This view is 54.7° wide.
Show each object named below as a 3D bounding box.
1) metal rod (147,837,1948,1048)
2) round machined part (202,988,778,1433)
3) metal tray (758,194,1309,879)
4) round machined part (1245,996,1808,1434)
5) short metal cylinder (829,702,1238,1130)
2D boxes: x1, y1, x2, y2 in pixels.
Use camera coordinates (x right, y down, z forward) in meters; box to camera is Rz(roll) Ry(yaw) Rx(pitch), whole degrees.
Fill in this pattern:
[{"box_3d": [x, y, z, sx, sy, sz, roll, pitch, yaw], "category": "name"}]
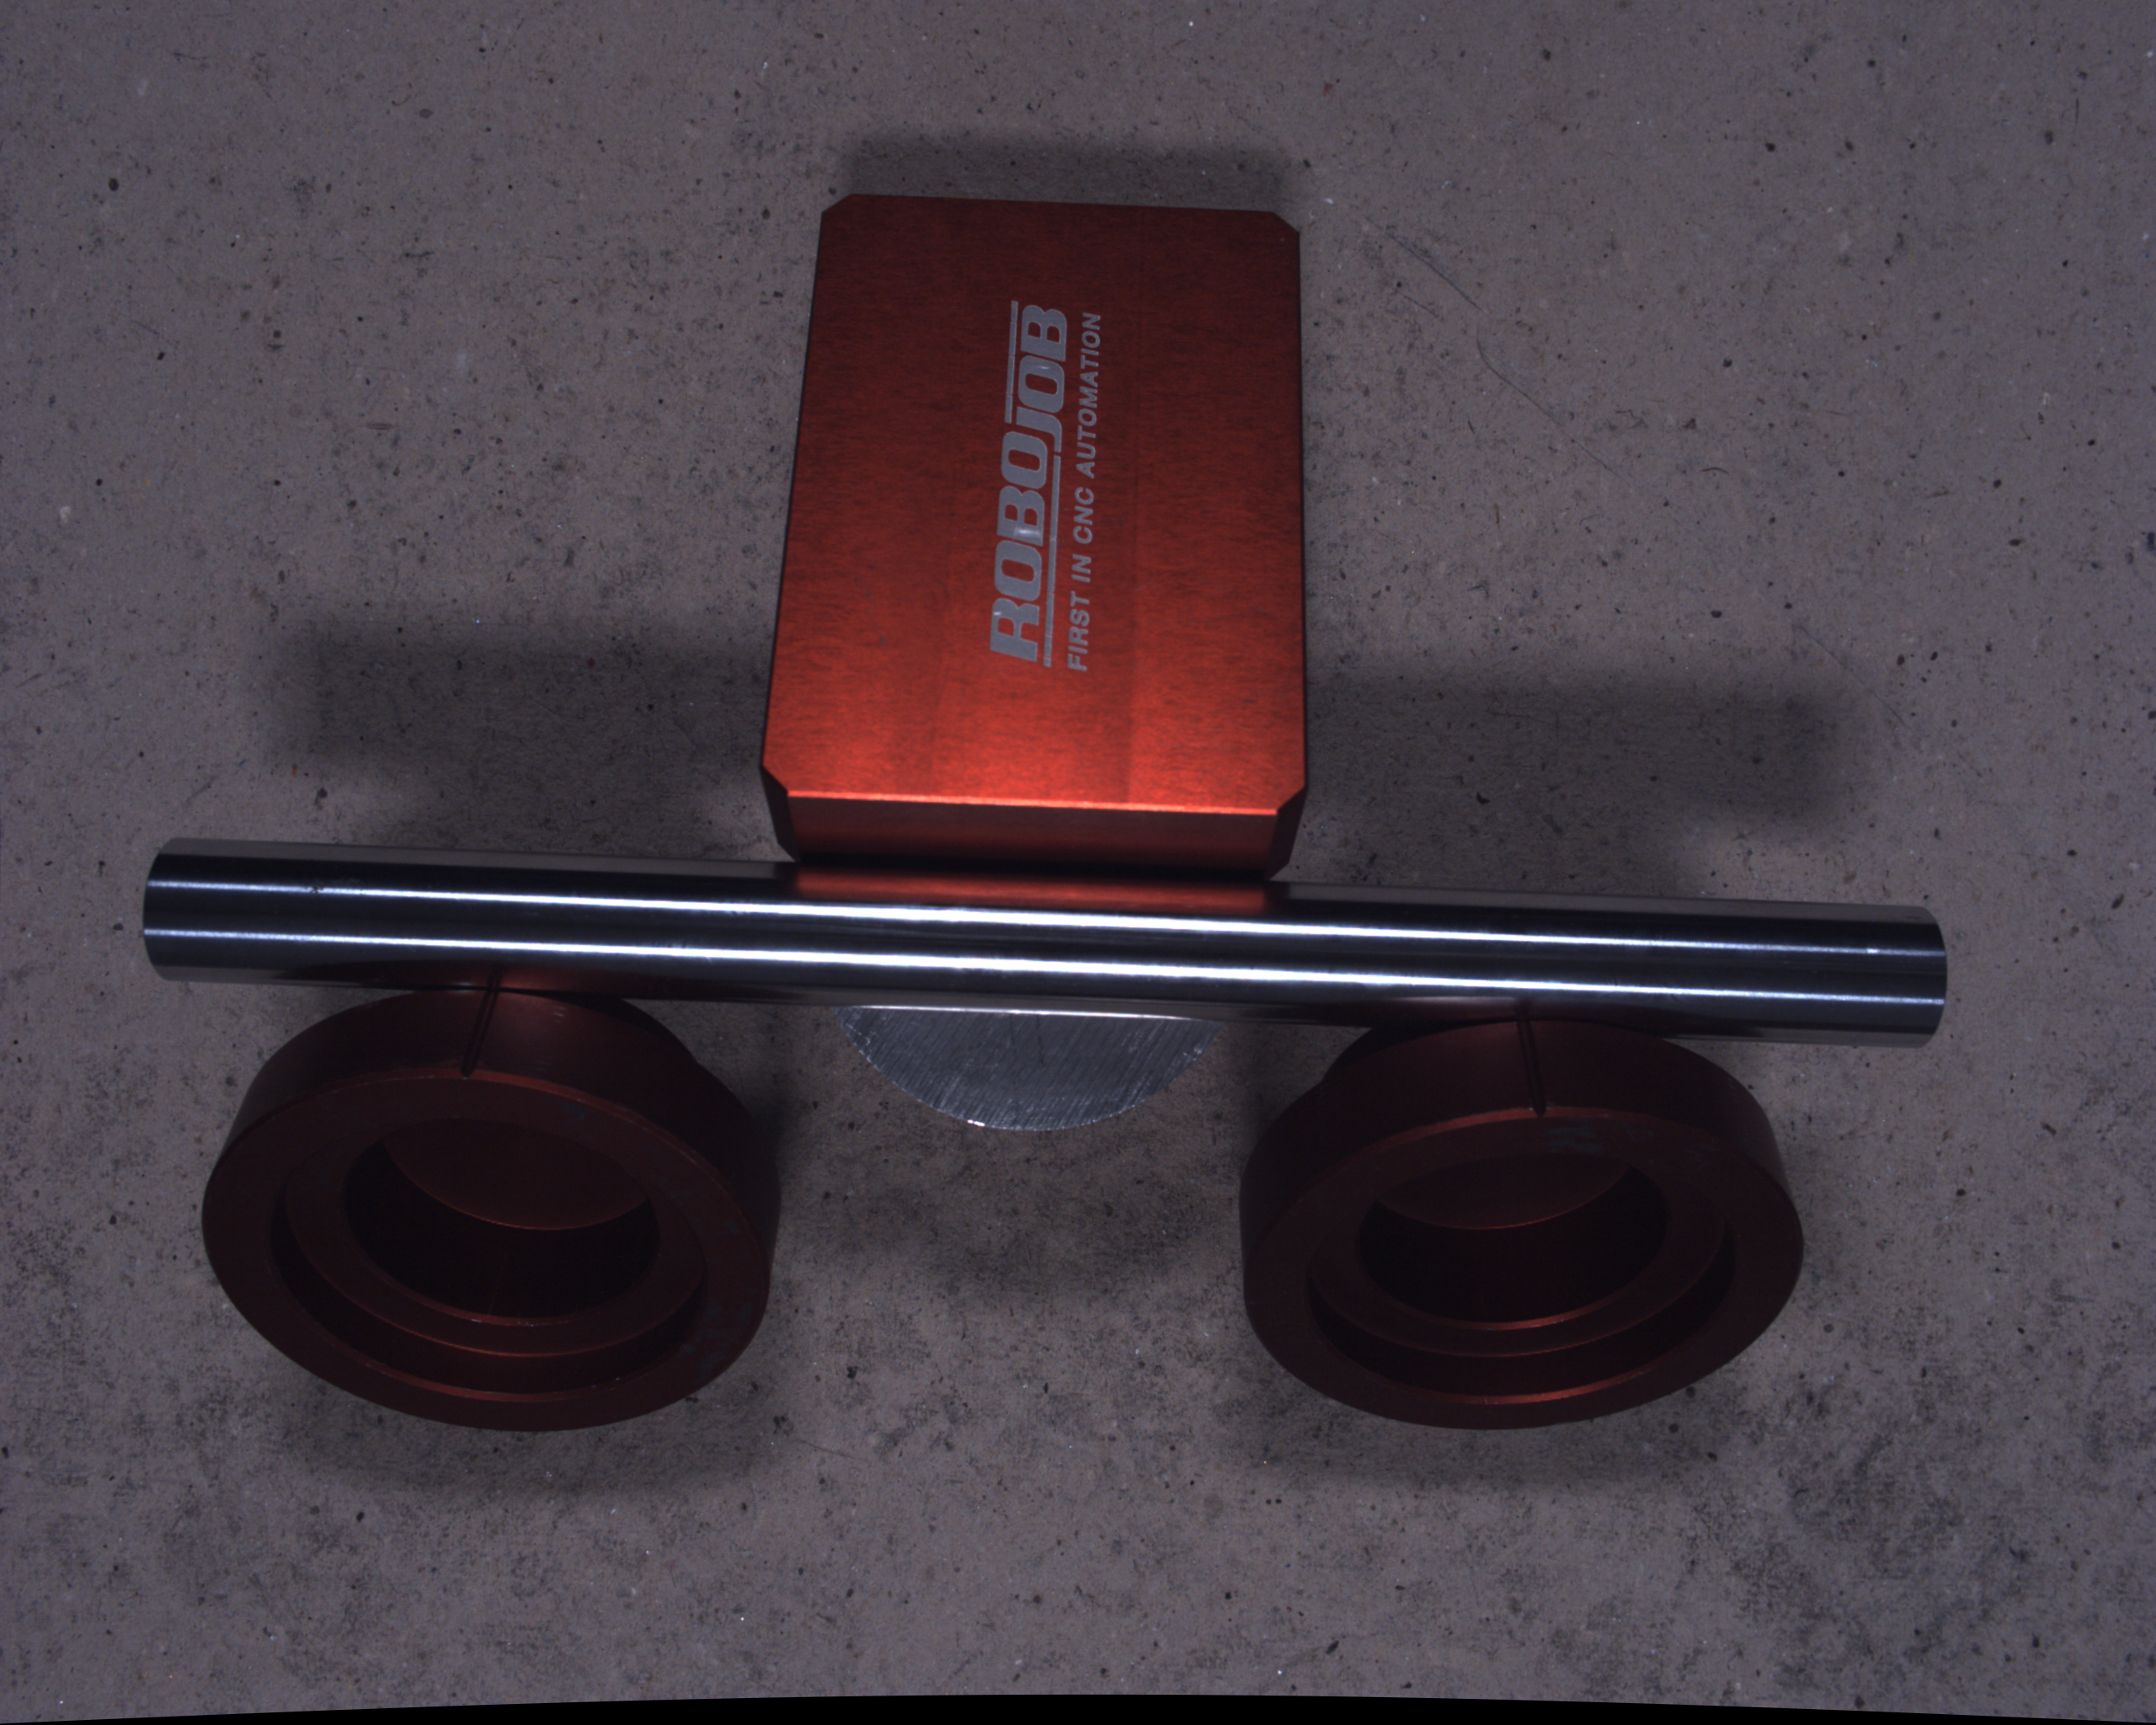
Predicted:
[{"box_3d": [-0.004, 0.014, 0.362, 0.302, 0.025, 0.025, 2, 90, -1], "category": "metal rod"}, {"box_3d": [-0.104, 0.059, 0.385, 0.099, 0.042, 0.097, -1, 129, -1], "category": "round machined part"}, {"box_3d": [-0.006, -0.062, 0.381, 0.091, 0.030, 0.130, 2, 64, -1], "category": "metal tray"}, {"box_3d": [0.080, 0.061, 0.386, 0.099, 0.042, 0.097, 0, 133, 0], "category": "round machined part"}, {"box_3d": [-0.009, 0.008, 0.399, 0.081, 0.050, 0.079, 0, 90, -1], "category": "short metal cylinder"}]
